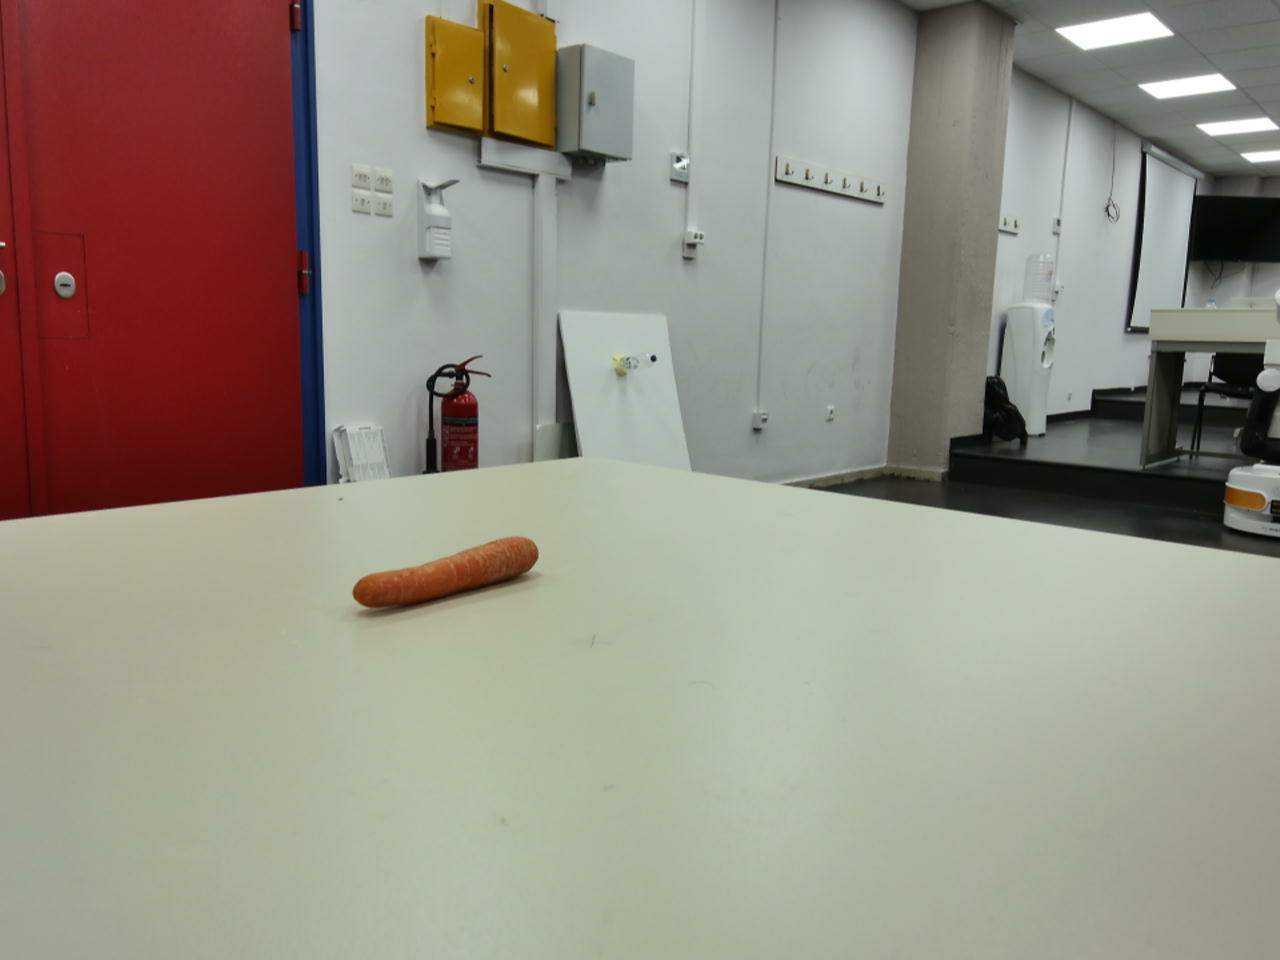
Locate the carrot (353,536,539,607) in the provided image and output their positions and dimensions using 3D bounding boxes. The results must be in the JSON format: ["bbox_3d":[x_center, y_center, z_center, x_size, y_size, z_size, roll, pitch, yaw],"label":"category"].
[{"bbox_3d":[-0.100,0.049,0.534,0.024,0.023,0.122,6,9,39],"label":"carrot"}]
